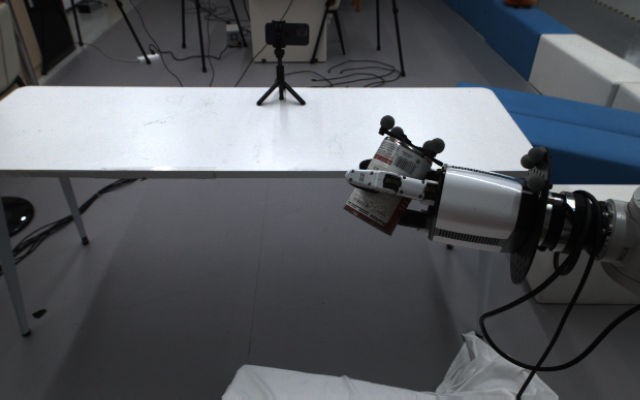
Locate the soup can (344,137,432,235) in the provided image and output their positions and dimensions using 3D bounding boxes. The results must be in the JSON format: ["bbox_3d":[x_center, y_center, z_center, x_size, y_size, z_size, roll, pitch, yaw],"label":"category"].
[{"bbox_3d":[0.084,-0.017,0.589,0.067,0.101,0.067,30,2,-1],"label":"soup can"}]
